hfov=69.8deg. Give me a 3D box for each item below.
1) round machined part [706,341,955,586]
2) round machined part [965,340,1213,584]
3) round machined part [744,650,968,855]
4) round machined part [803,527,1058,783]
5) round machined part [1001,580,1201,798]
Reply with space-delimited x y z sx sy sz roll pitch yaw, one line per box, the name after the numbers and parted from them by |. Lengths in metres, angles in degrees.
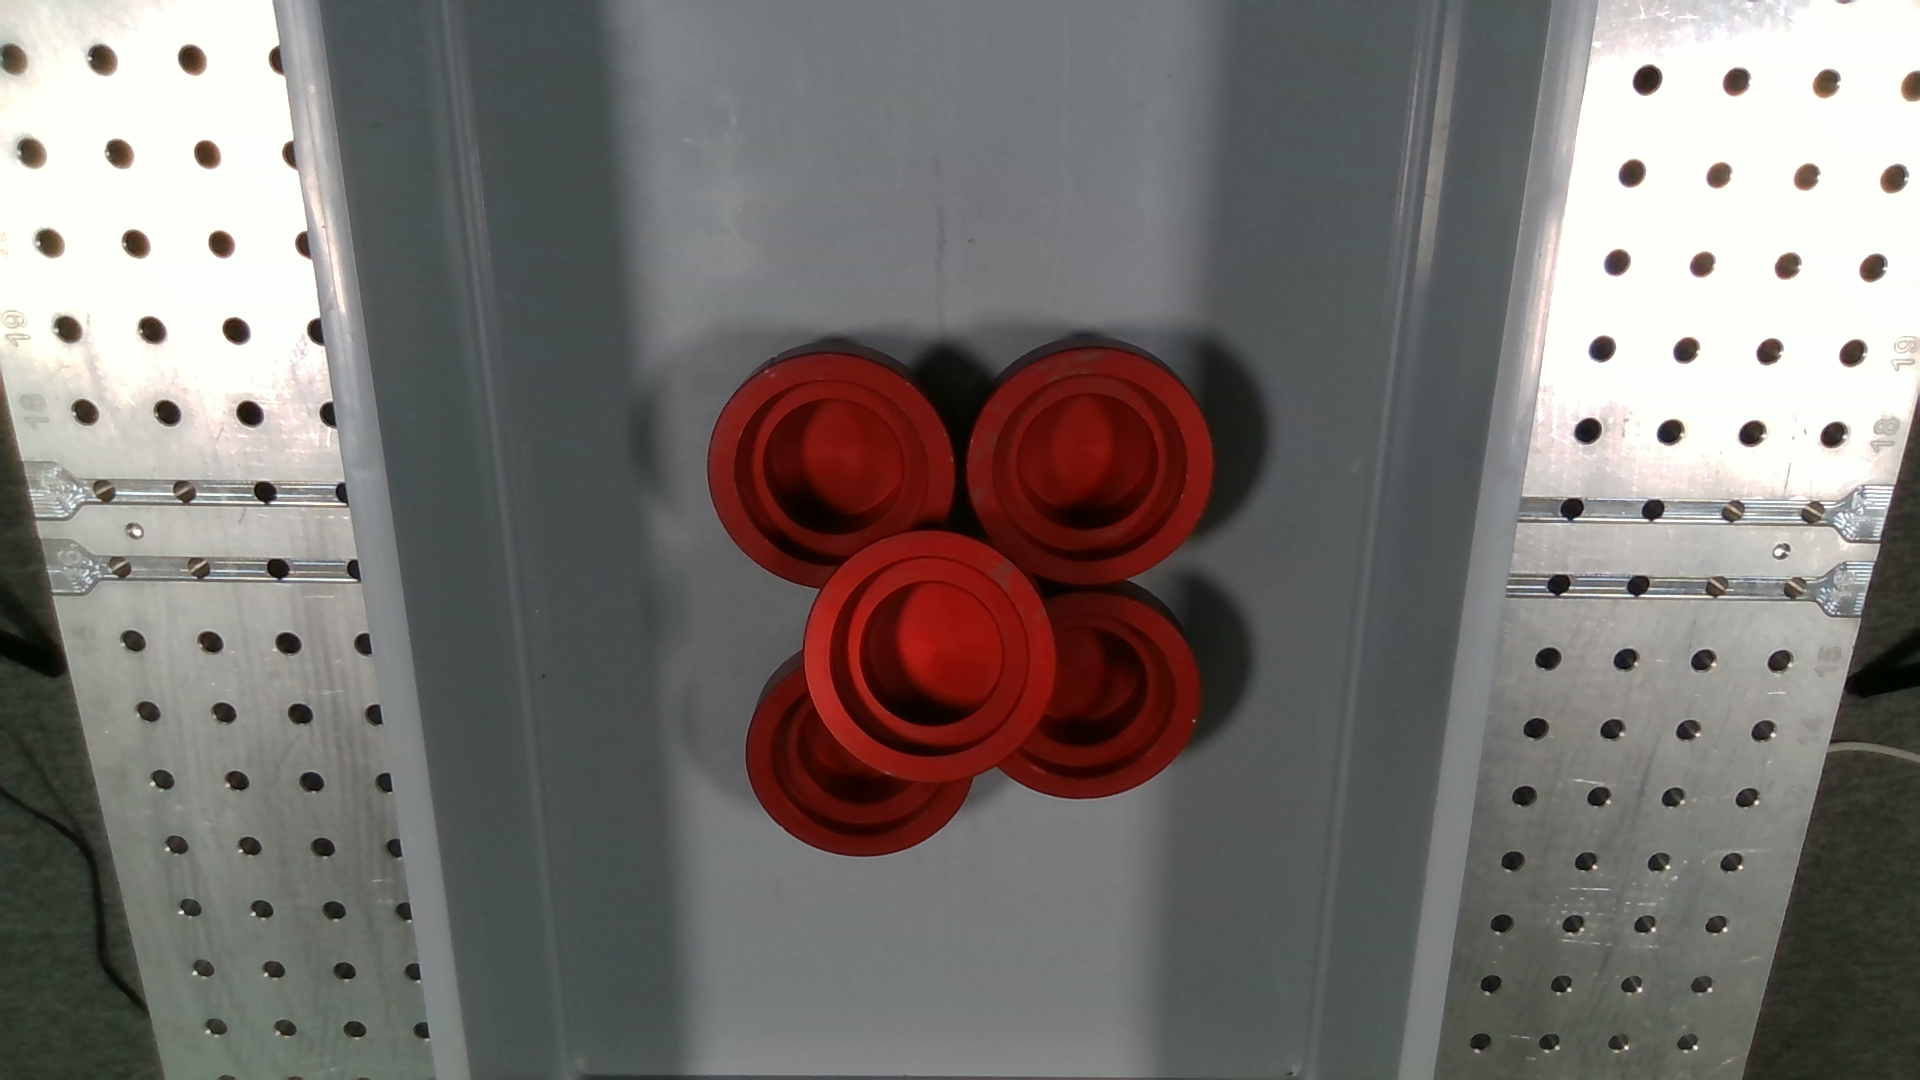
-0.051 -0.033 0.562 0.098 0.042 0.098 0 110 0 | round machined part
0.051 -0.035 0.561 0.098 0.042 0.098 0 110 0 | round machined part
-0.043 0.085 0.606 0.098 0.042 0.098 0 110 0 | round machined part
-0.010 0.044 0.545 0.098 0.042 0.098 0 92 5 | round machined part
0.052 0.059 0.596 0.098 0.042 0.098 0 110 0 | round machined part
